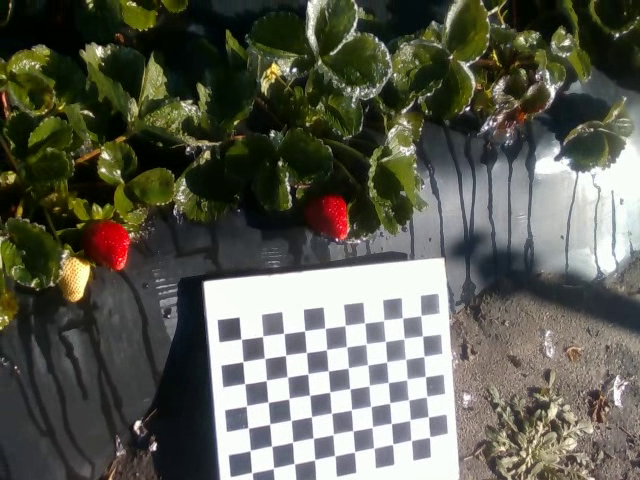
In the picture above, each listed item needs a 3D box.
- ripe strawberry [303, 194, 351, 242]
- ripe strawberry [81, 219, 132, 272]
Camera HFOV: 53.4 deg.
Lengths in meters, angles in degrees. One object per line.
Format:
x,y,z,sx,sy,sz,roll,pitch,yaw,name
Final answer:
0.015,-0.024,0.679,0.048,0.061,0.044,-13,-27,-19,ripe strawberry
-0.200,0.011,0.609,0.043,0.061,0.046,-21,-34,-18,ripe strawberry
